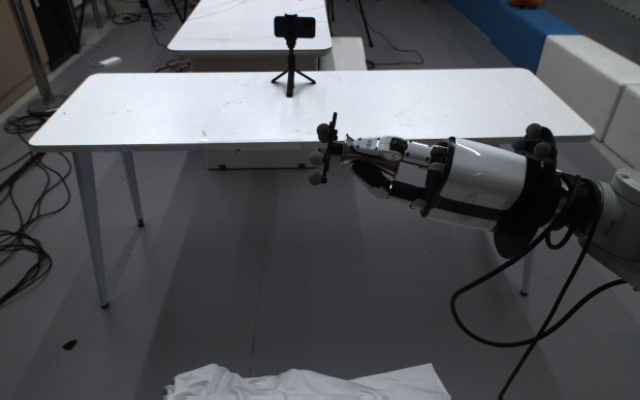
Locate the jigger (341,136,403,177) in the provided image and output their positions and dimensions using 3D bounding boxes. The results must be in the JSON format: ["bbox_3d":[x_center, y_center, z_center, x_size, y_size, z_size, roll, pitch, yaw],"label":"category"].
[{"bbox_3d":[0.068,-0.057,0.584,0.071,0.043,0.043,11,35,3],"label":"jigger"}]
